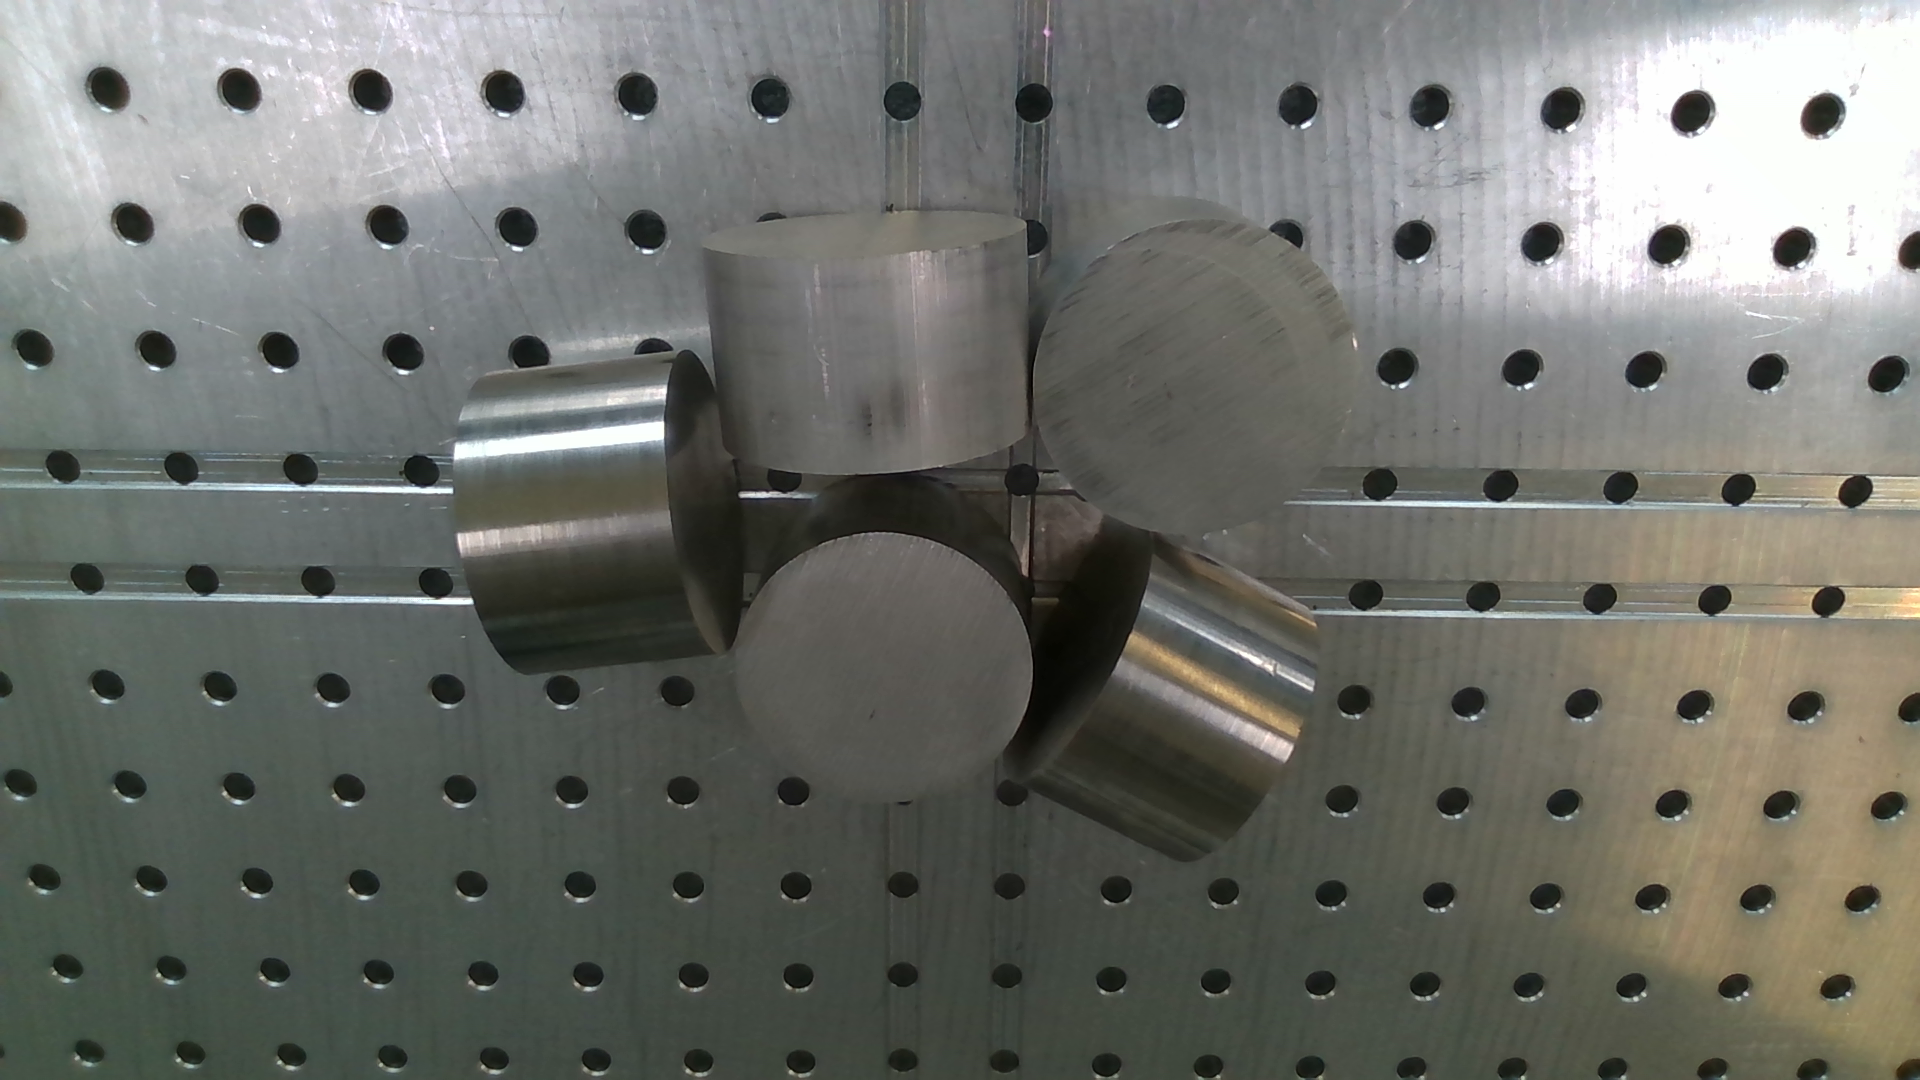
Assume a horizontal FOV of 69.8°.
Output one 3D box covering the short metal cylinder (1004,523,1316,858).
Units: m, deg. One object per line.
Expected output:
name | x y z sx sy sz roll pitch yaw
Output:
short metal cylinder | 0.053 0.040 0.382 0.050 0.080 0.080 27 108 -10

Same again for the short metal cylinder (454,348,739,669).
short metal cylinder | -0.092 -0.008 0.363 0.050 0.080 0.080 -6 110 3

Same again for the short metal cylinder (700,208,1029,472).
short metal cylinder | -0.022 -0.053 0.348 0.080 0.080 0.050 -2 110 1

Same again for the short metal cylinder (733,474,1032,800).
short metal cylinder | -0.021 0.026 0.392 0.080 0.050 0.080 0 111 0

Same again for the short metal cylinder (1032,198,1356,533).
short metal cylinder | 0.058 -0.048 0.365 0.080 0.050 0.080 0 109 0
